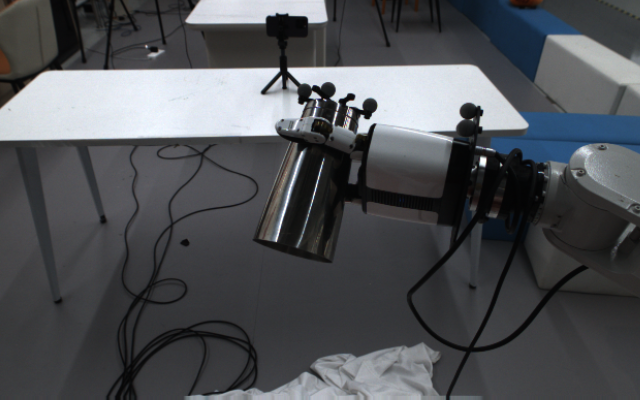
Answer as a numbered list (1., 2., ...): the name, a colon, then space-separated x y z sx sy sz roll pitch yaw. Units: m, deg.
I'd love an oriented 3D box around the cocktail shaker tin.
1. cocktail shaker tin: -0.005 -0.026 0.549 0.093 0.093 0.170 13 77 15
